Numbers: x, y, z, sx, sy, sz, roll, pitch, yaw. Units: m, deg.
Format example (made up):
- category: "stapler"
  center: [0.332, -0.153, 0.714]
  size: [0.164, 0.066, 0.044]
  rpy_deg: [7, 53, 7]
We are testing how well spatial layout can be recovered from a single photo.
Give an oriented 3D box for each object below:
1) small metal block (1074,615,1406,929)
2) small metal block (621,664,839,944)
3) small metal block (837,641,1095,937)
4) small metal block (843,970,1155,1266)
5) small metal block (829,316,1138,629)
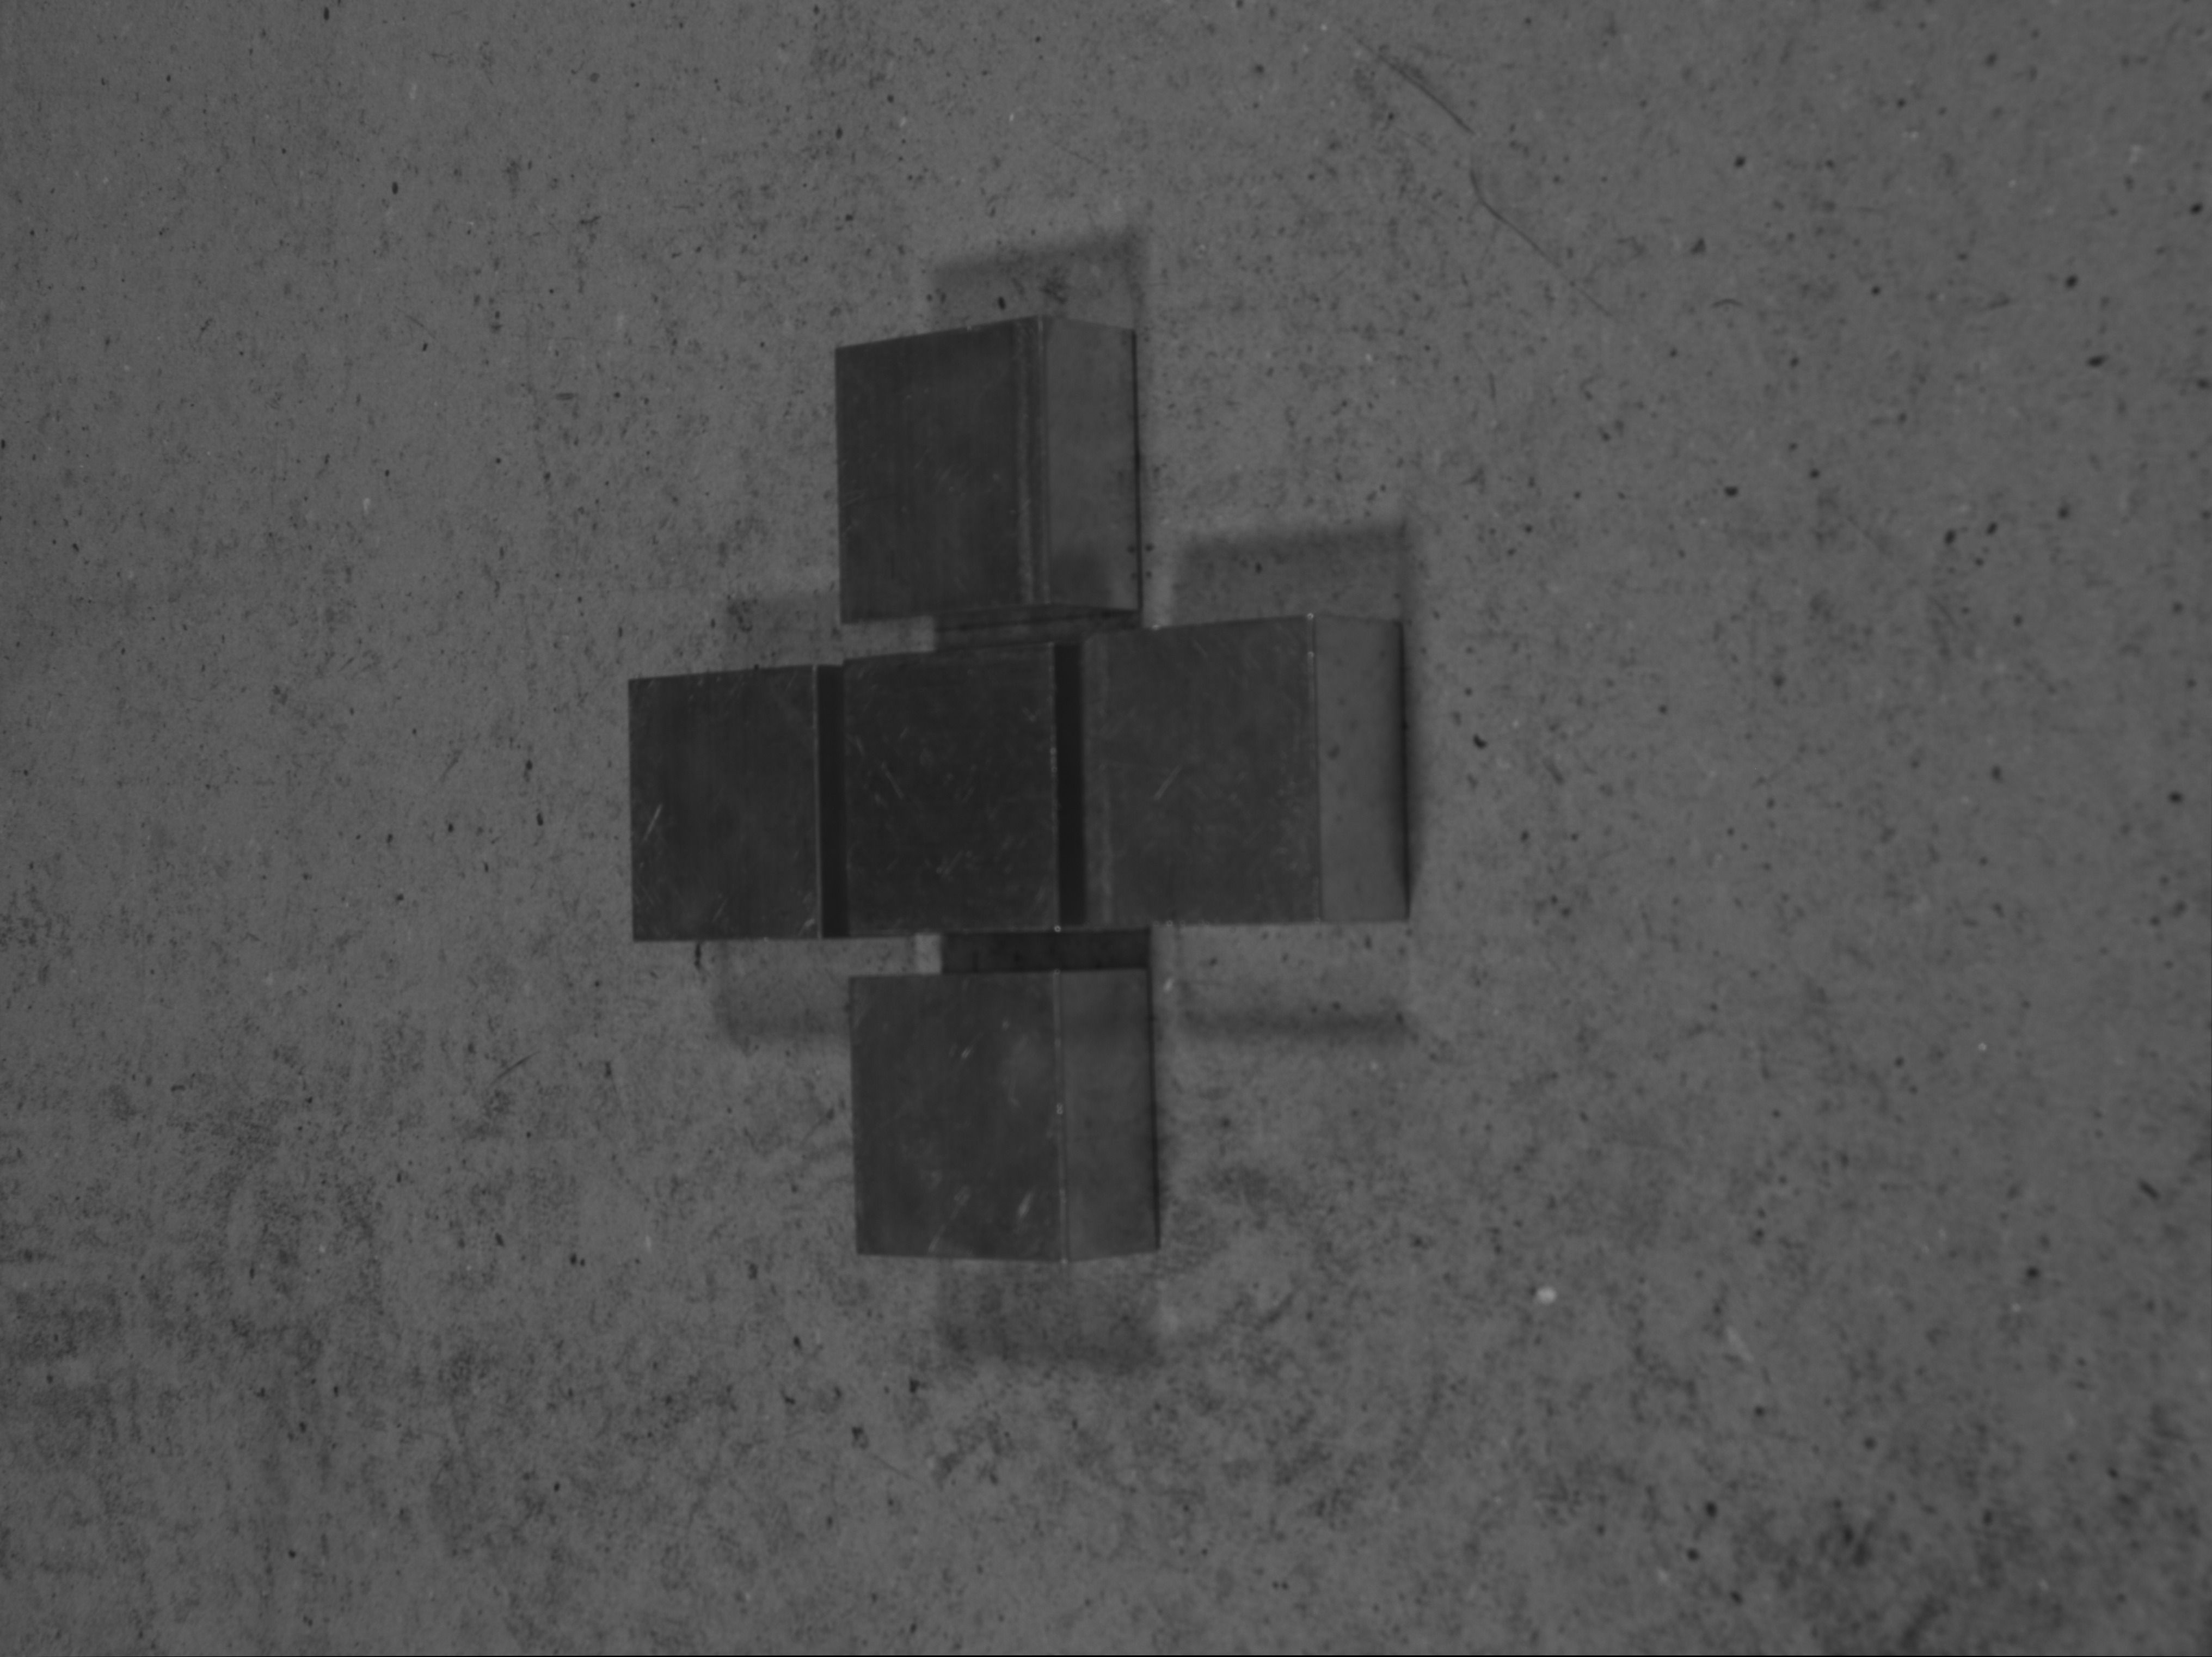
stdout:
- category: "small metal block"
  center: [0.022, -0.009, 0.618]
  size: [0.050, 0.025, 0.050]
  rpy_deg: [-2, 88, 39]
- category: "small metal block"
  center: [-0.064, -0.004, 0.689]
  size: [0.050, 0.025, 0.050]
  rpy_deg: [-2, 88, 39]
- category: "small metal block"
  center: [-0.021, -0.006, 0.654]
  size: [0.050, 0.025, 0.050]
  rpy_deg: [-2, 88, 39]
- category: "small metal block"
  center: [-0.019, 0.051, 0.652]
  size: [0.050, 0.025, 0.050]
  rpy_deg: [-3, 88, 39]
- category: "small metal block"
  center: [-0.022, -0.062, 0.655]
  size: [0.050, 0.025, 0.050]
  rpy_deg: [-2, 88, 39]
